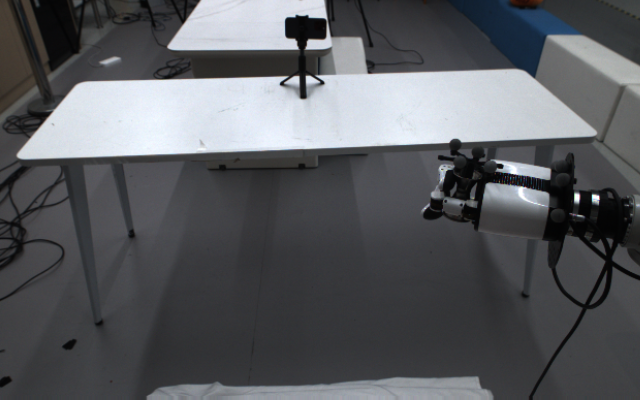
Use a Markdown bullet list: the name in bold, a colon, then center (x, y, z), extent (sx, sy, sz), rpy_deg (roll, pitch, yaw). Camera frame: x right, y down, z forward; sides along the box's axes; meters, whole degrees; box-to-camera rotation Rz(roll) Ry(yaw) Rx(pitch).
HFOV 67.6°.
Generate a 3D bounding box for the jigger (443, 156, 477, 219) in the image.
- **jigger**: center (0.205, -0.008, 0.698), extent (0.043, 0.071, 0.043), rpy_deg (6, 26, -3)
